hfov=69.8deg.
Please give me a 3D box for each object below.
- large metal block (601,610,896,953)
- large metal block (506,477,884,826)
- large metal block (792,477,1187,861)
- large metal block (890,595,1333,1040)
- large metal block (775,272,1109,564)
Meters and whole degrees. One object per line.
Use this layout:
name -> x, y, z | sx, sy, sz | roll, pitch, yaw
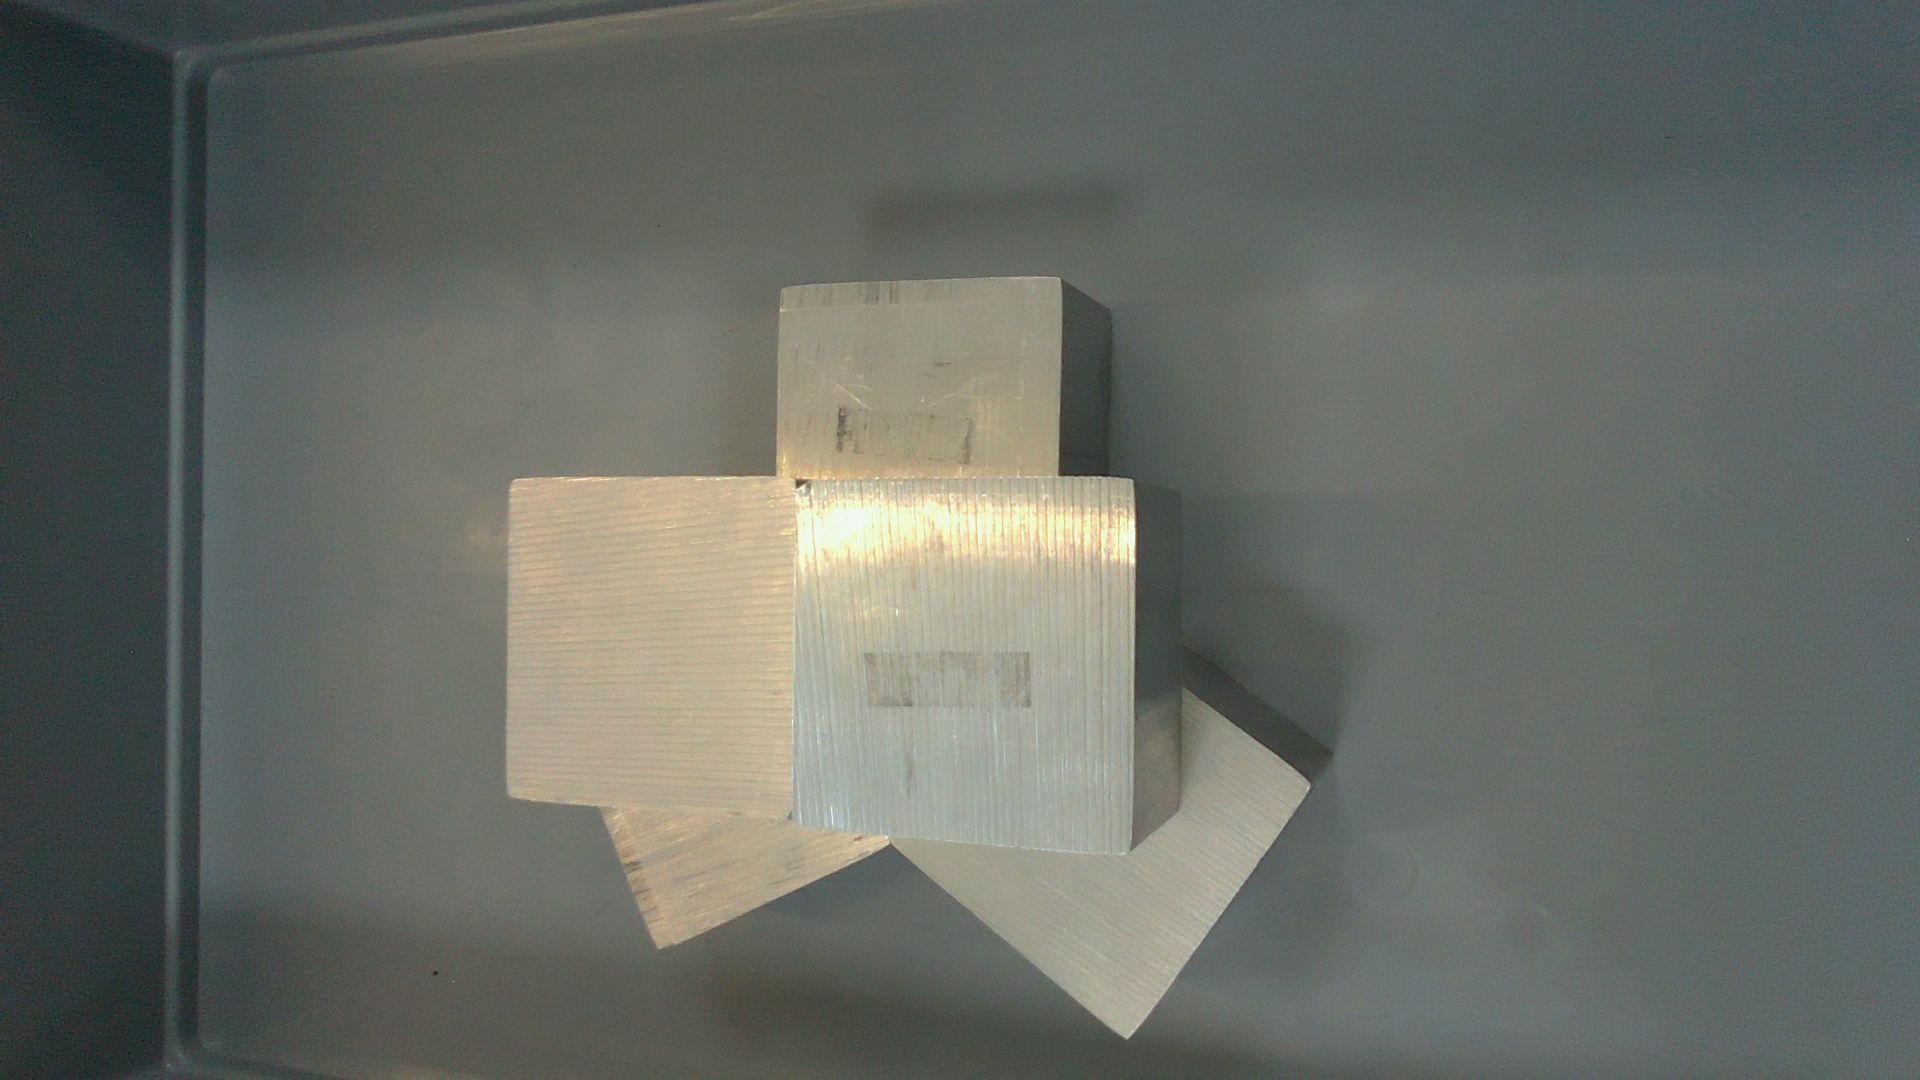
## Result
large metal block -> -0.059, 0.062, 0.403 | 0.080, 0.050, 0.080 | -28, 81, 18
large metal block -> -0.066, 0.025, 0.352 | 0.080, 0.050, 0.080 | 1, 90, 20
large metal block -> 0.008, 0.026, 0.324 | 0.080, 0.050, 0.080 | 1, 90, 20
large metal block -> 0.040, 0.067, 0.366 | 0.080, 0.050, 0.080 | 36, 102, 17
large metal block -> -0.004, -0.028, 0.383 | 0.080, 0.050, 0.080 | 2, 91, 20
